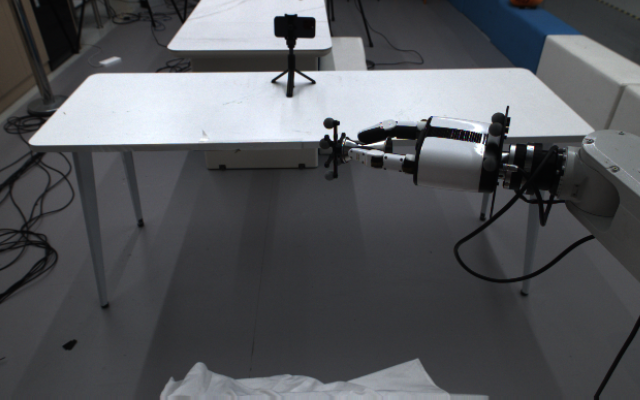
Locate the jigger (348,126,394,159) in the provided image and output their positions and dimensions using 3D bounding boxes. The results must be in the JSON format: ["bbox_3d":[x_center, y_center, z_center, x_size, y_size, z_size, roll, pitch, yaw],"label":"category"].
[{"bbox_3d":[0.077,-0.078,0.728,0.071,0.043,0.043,4,33,22],"label":"jigger"}]
